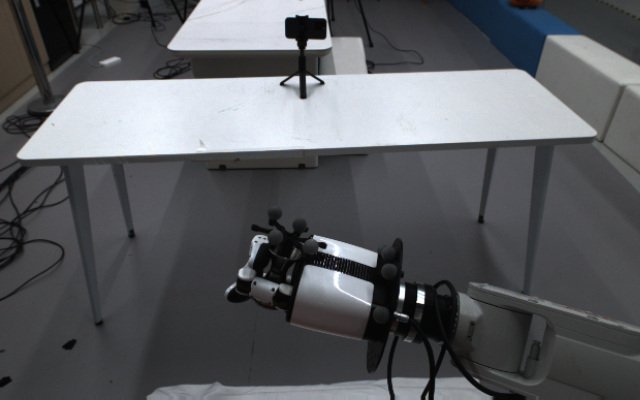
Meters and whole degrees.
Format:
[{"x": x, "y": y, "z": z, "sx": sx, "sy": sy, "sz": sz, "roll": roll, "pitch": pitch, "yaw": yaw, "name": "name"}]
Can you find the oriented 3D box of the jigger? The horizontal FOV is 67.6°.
[{"x": -0.049, "y": 0.089, "z": 0.568, "sx": 0.043, "sy": 0.071, "sz": 0.043, "roll": 18, "pitch": 17, "yaw": -6, "name": "jigger"}]
